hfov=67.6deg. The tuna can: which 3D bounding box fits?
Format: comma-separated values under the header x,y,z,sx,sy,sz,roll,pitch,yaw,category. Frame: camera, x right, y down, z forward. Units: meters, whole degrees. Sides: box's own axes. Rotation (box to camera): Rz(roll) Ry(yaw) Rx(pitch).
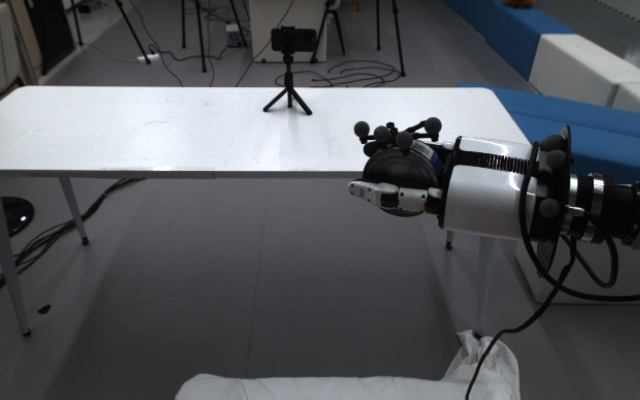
x,y,z,sx,sy,sz,roll,pitch,yaw,category
0.095,-0.028,0.543,0.085,0.085,0.034,17,37,20,tuna can
